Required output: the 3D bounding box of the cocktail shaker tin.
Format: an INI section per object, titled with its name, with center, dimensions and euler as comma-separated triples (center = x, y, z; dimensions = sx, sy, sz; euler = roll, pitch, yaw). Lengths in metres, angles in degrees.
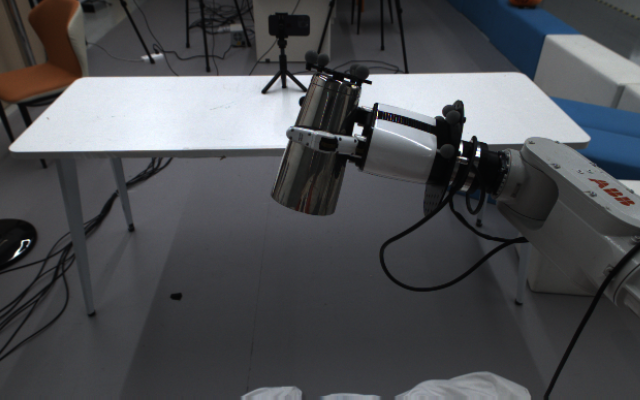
[cocktail shaker tin]
center = -0.001, -0.076, 0.643
dimensions = 0.093, 0.170, 0.093
euler = 15, 17, -5
